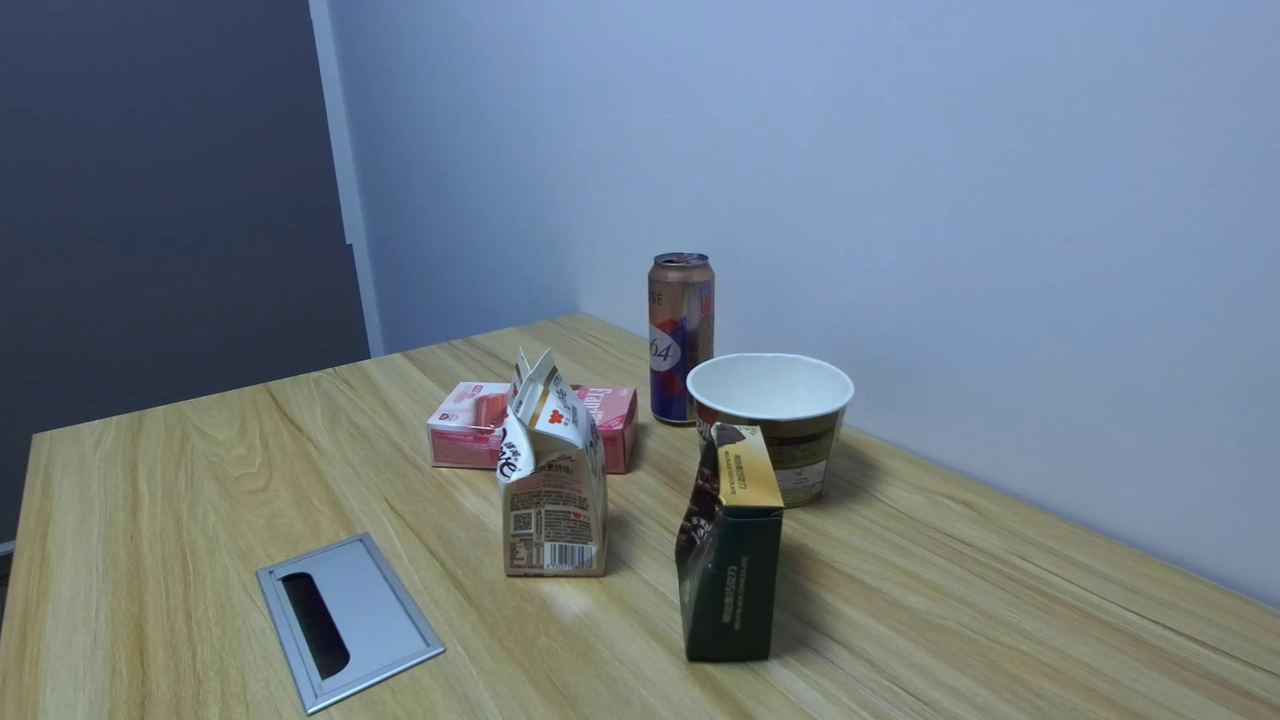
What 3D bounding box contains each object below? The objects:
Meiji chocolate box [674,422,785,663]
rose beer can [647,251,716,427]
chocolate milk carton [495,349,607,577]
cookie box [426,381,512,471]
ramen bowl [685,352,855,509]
[{"bbox_3d":[0.058,0.112,0.453,0.052,0.117,0.117,5,21,-3],"label":"Meiji chocolate box"},{"bbox_3d":[0.043,-0.020,0.724,0.068,0.169,0.068,-1,22,1],"label":"rose beer can"},{"bbox_3d":[-0.065,0.070,0.510,0.073,0.155,0.076,-2,22,3],"label":"chocolate milk carton"},{"bbox_3d":[-0.101,0.064,0.677,0.187,0.049,0.105,1,21,8],"label":"cookie box"},{"bbox_3d":[0.109,0.060,0.612,0.140,0.095,0.140,-1,21,1],"label":"ramen bowl"}]
